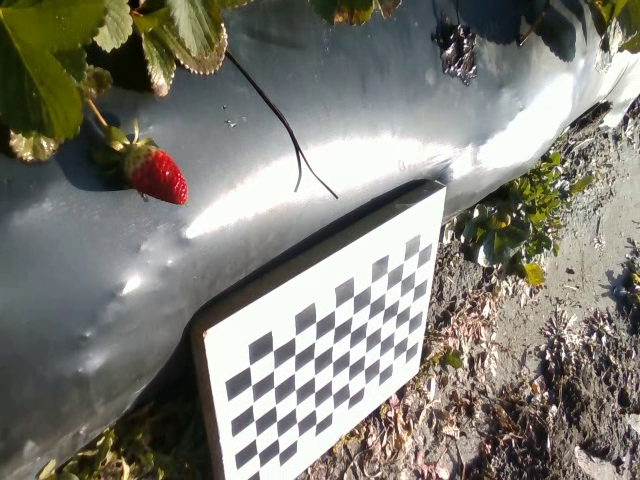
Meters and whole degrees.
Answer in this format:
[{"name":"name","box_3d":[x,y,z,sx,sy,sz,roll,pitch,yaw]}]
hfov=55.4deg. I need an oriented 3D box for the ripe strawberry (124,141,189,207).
[{"name":"ripe strawberry","box_3d":[-0.080,-0.029,0.298,0.041,0.028,0.031,42,-13,3]}]
